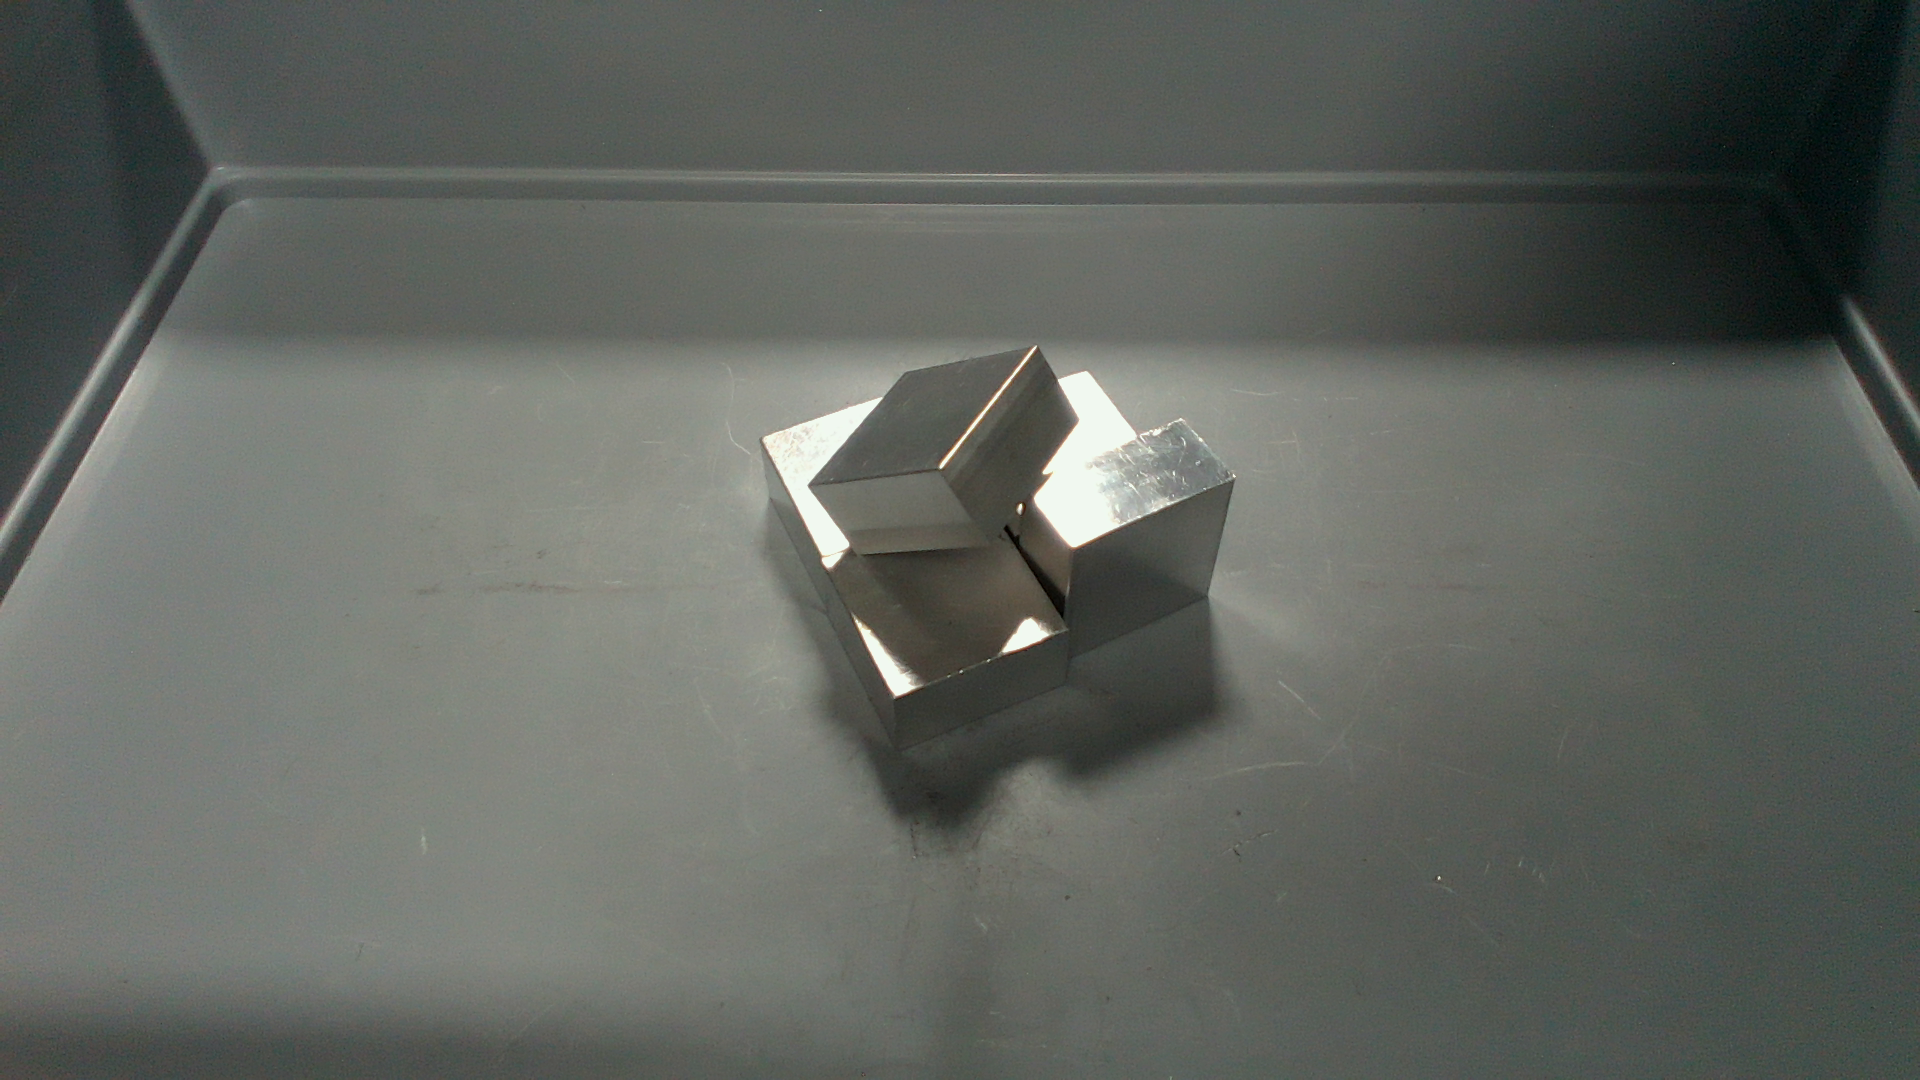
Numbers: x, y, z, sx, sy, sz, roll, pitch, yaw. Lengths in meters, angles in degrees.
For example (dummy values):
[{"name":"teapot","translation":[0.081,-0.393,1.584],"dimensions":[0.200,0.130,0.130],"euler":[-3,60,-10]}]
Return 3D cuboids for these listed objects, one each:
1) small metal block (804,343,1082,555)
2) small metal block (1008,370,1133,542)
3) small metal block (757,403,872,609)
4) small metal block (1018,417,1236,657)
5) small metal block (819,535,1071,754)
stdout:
[{"name":"small metal block","translation":[-0.004,-0.023,0.361],"dimensions":[0.050,0.025,0.050],"euler":[-4,38,44]},{"name":"small metal block","translation":[0.027,-0.018,0.406],"dimensions":[0.050,0.025,0.050],"euler":[-20,53,-16]},{"name":"small metal block","translation":[-0.026,-0.012,0.401],"dimensions":[0.050,0.025,0.050],"euler":[-20,53,-16]},{"name":"small metal block","translation":[0.043,0.001,0.373],"dimensions":[0.050,0.050,0.025],"euler":[-22,53,-18]},{"name":"small metal block","translation":[-0.005,0.023,0.371],"dimensions":[0.050,0.025,0.050],"euler":[-20,53,-16]}]
